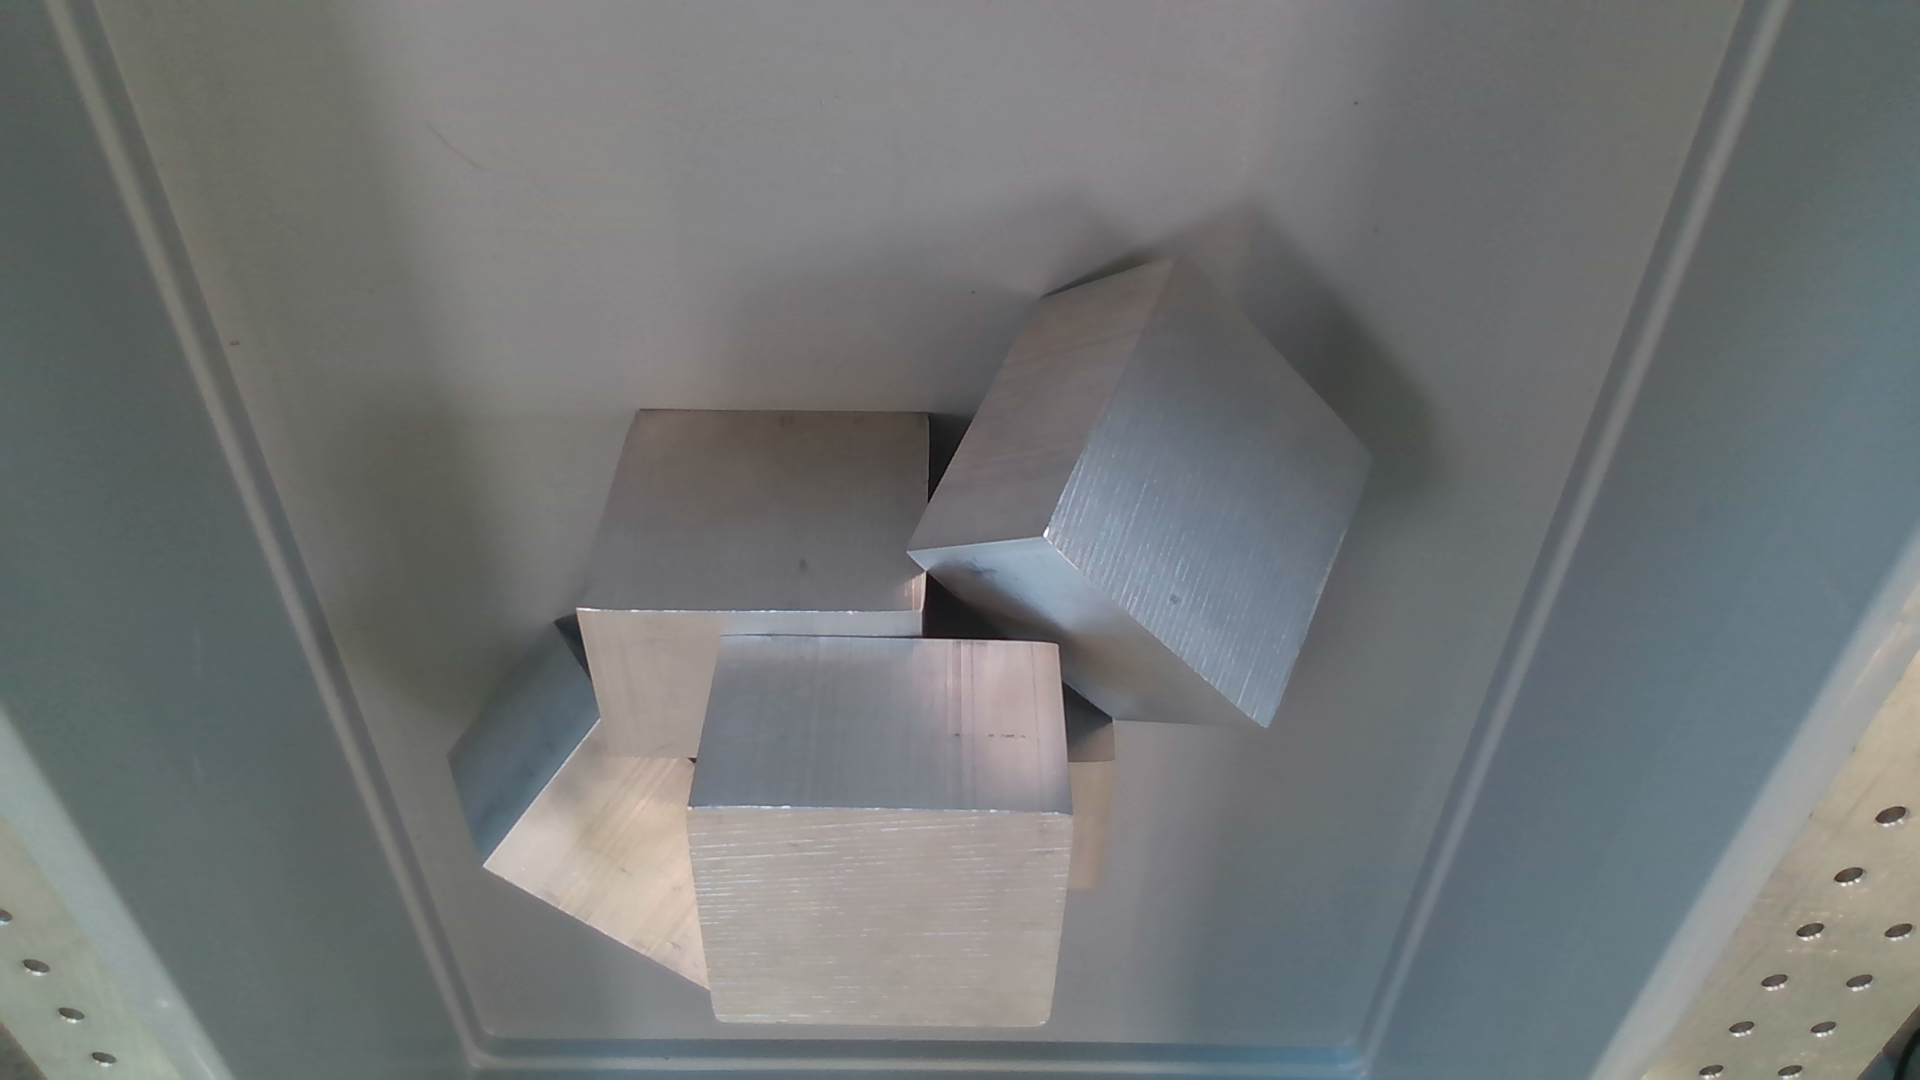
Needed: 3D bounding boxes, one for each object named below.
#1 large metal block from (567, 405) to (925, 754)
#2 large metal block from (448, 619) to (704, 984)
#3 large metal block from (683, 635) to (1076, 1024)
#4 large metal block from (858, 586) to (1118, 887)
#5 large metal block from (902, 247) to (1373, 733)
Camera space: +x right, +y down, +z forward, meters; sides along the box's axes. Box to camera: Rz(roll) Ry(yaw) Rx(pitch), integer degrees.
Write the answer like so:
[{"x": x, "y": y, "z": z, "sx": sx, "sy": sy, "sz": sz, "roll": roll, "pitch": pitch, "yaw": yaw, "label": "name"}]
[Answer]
[{"x": -0.050, "y": 0.009, "z": 0.359, "sx": 0.080, "sy": 0.080, "sz": 0.050, "roll": 1, "pitch": 130, "yaw": -1, "label": "large metal block"}, {"x": -0.097, "y": 0.076, "z": 0.406, "sx": 0.080, "sy": 0.080, "sz": 0.050, "roll": 41, "pitch": 84, "yaw": -29, "label": "large metal block"}, {"x": -0.017, "y": 0.069, "z": 0.325, "sx": 0.080, "sy": 0.050, "sz": 0.080, "roll": 1, "pitch": 130, "yaw": -1, "label": "large metal block"}, {"x": -0.001, "y": 0.050, "z": 0.393, "sx": 0.080, "sy": 0.080, "sz": 0.050, "roll": 1, "pitch": 130, "yaw": -1, "label": "large metal block"}, {"x": 0.046, "y": -0.009, "z": 0.334, "sx": 0.080, "sy": 0.080, "sz": 0.050, "roll": 39, "pitch": 155, "yaw": -28, "label": "large metal block"}]
